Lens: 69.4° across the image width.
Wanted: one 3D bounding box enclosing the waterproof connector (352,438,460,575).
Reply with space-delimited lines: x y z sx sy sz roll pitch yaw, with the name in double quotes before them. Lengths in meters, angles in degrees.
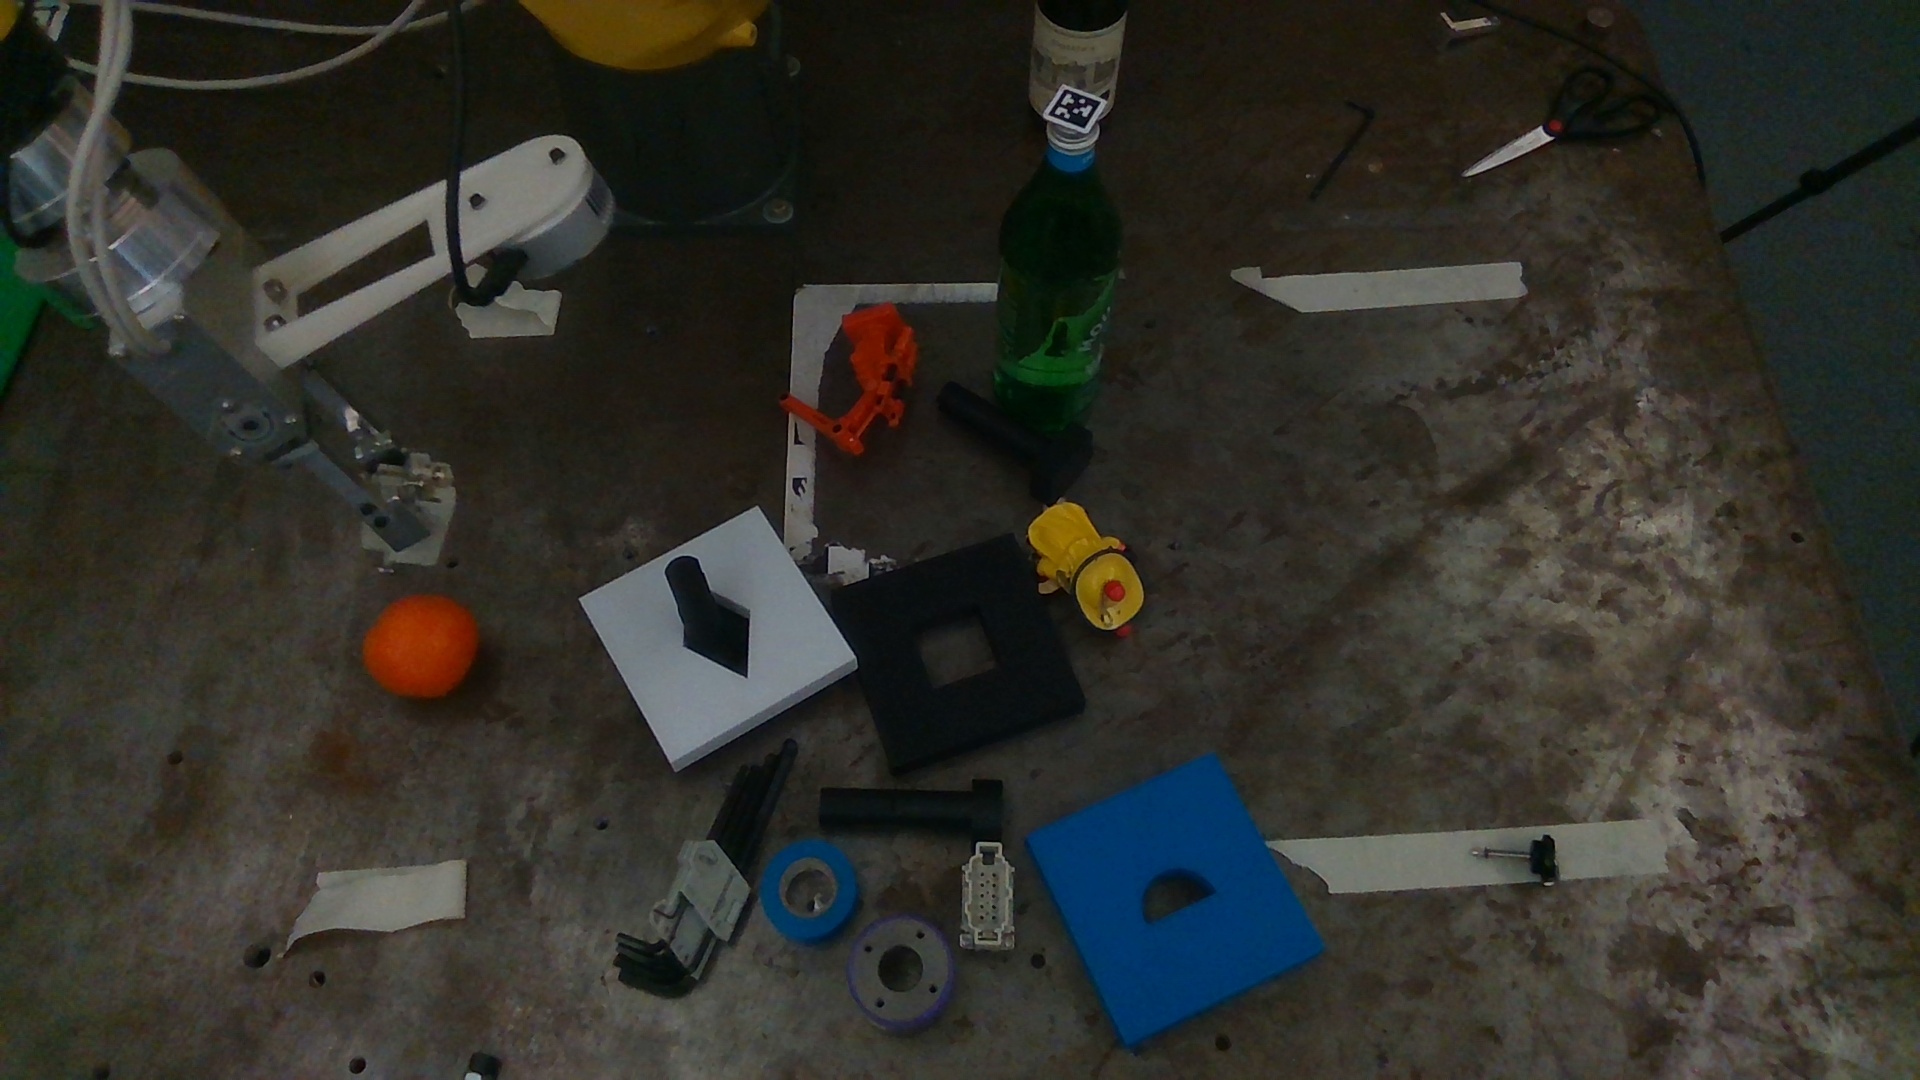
"waterproof connector" -0.285 -0.016 0.711 0.038 0.069 0.037 7 36 -40
